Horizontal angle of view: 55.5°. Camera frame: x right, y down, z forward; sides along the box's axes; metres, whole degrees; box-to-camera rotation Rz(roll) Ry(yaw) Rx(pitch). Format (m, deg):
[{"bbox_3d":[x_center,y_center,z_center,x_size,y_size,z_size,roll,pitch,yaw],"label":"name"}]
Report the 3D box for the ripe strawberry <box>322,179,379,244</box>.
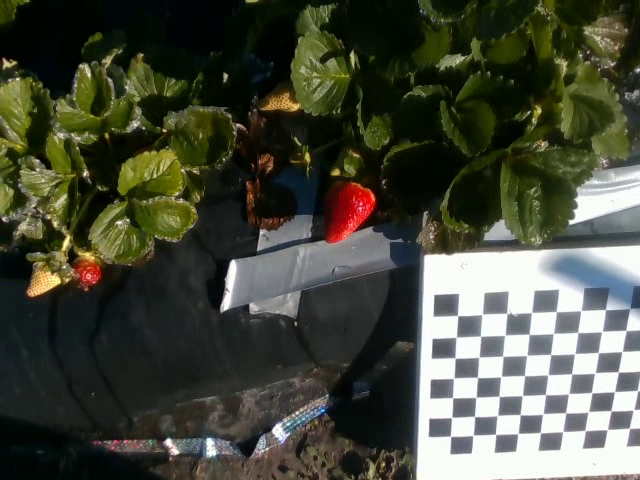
[{"bbox_3d":[0.027,-0.020,0.585,0.061,0.065,0.057,28,-26,-14],"label":"ripe strawberry"}]
